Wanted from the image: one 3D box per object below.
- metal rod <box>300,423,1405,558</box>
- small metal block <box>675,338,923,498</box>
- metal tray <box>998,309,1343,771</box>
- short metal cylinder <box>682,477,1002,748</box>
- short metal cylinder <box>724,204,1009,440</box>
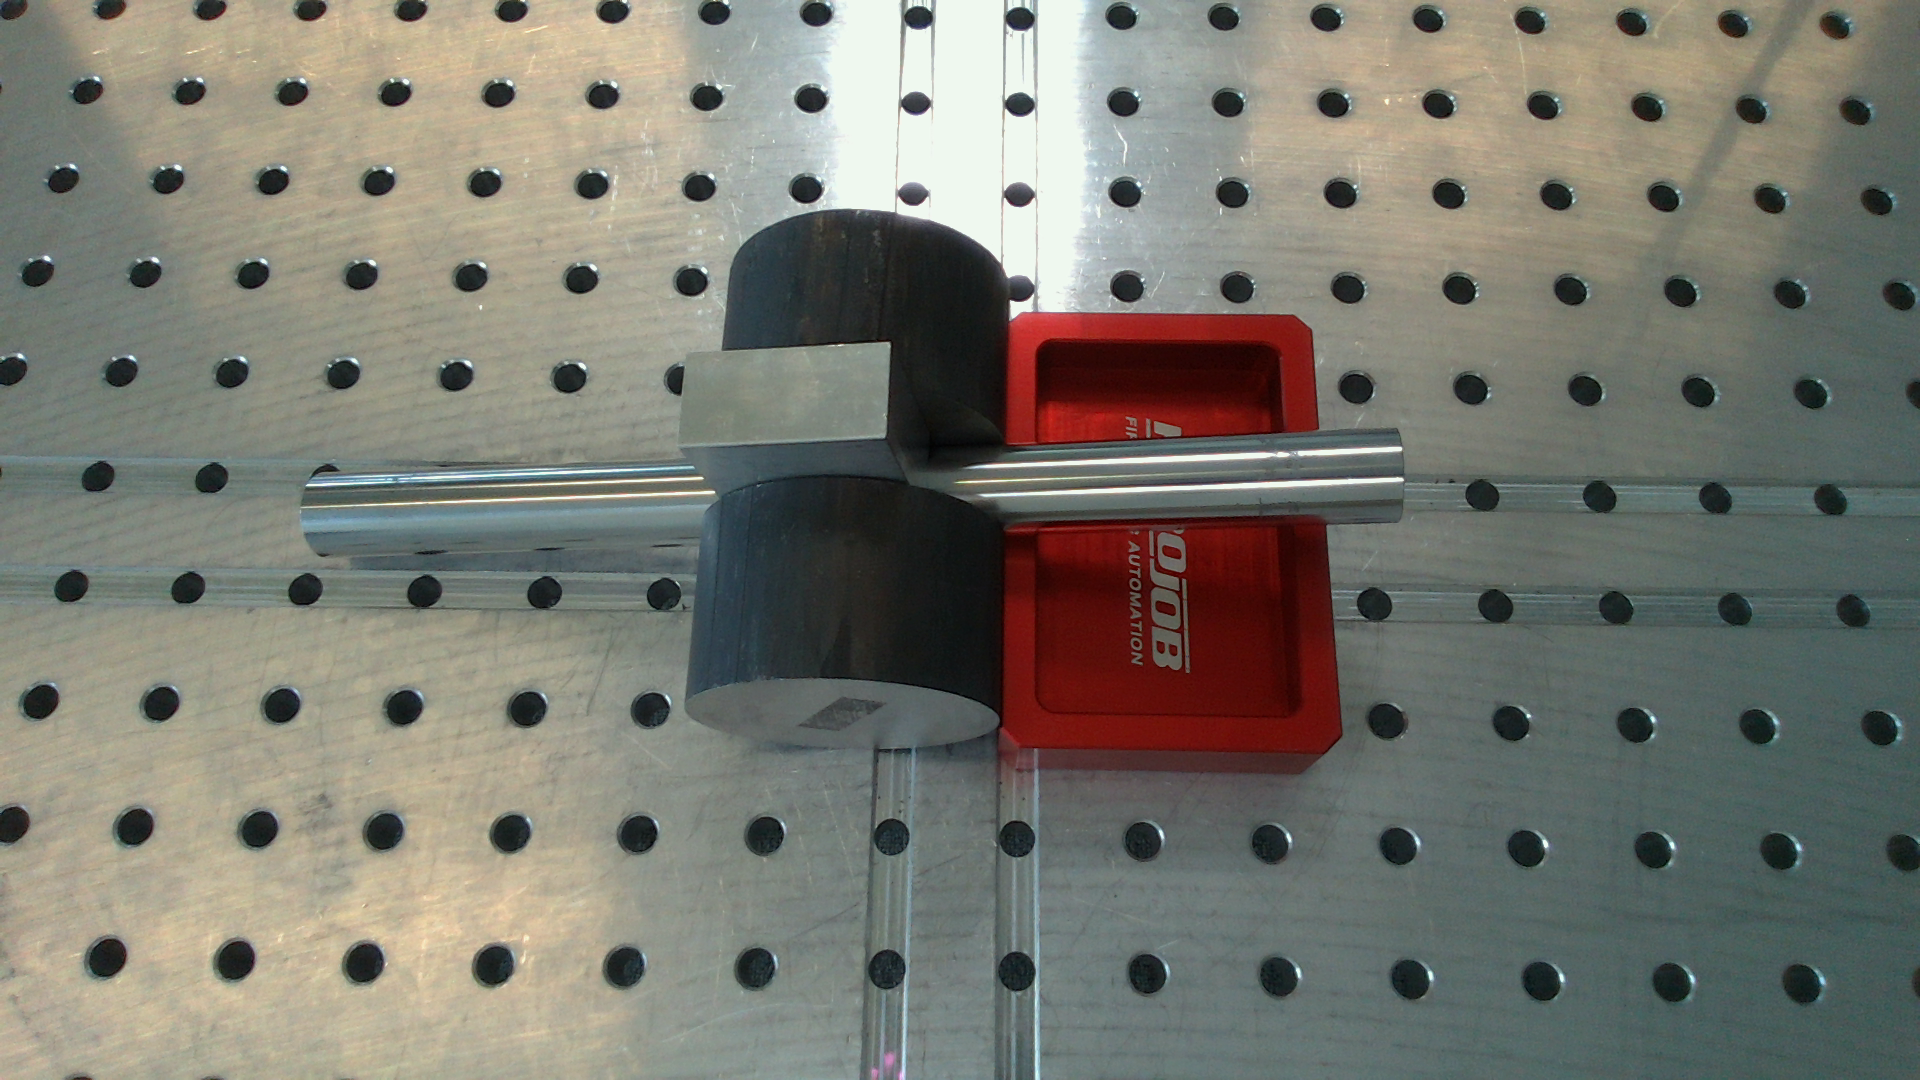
[{"bbox_3d":[-0.036,-0.012,0.377,0.300,0.025,0.025,-2,70,9],"label":"metal rod"},{"bbox_3d":[-0.037,-0.026,0.342,0.050,0.050,0.025,-2,70,8],"label":"small metal block"},{"bbox_3d":[0.057,-0.001,0.395,0.090,0.030,0.130,1,70,0],"label":"metal tray"},{"bbox_3d":[-0.029,0.022,0.359,0.080,0.080,0.050,1,70,1],"label":"short metal cylinder"},{"bbox_3d":[-0.026,-0.049,0.384,0.080,0.080,0.050,1,70,0],"label":"short metal cylinder"}]
